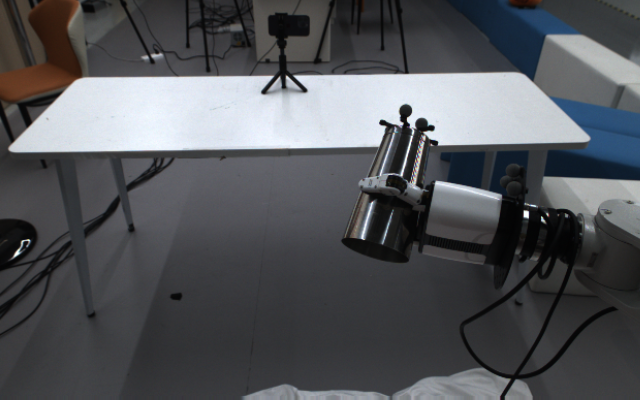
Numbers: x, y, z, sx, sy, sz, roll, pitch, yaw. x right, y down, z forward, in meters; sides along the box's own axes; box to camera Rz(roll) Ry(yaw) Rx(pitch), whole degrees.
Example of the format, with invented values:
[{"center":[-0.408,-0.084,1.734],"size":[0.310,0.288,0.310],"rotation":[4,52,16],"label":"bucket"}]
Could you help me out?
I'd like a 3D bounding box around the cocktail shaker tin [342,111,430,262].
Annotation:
[{"center":[0.098,-0.010,0.656],"size":[0.093,0.093,0.170],"rotation":[14,73,16],"label":"cocktail shaker tin"}]
